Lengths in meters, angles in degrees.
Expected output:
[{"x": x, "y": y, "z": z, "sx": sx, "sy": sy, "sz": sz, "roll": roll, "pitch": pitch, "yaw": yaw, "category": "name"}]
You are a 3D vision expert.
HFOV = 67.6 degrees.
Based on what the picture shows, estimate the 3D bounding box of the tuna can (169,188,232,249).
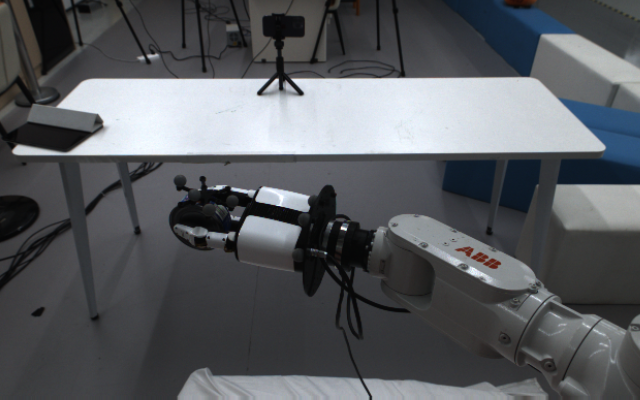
[{"x": -0.175, "y": 0.033, "z": 0.716, "sx": 0.085, "sy": 0.085, "sz": 0.034, "roll": 9, "pitch": 34, "yaw": 10, "category": "tuna can"}]
